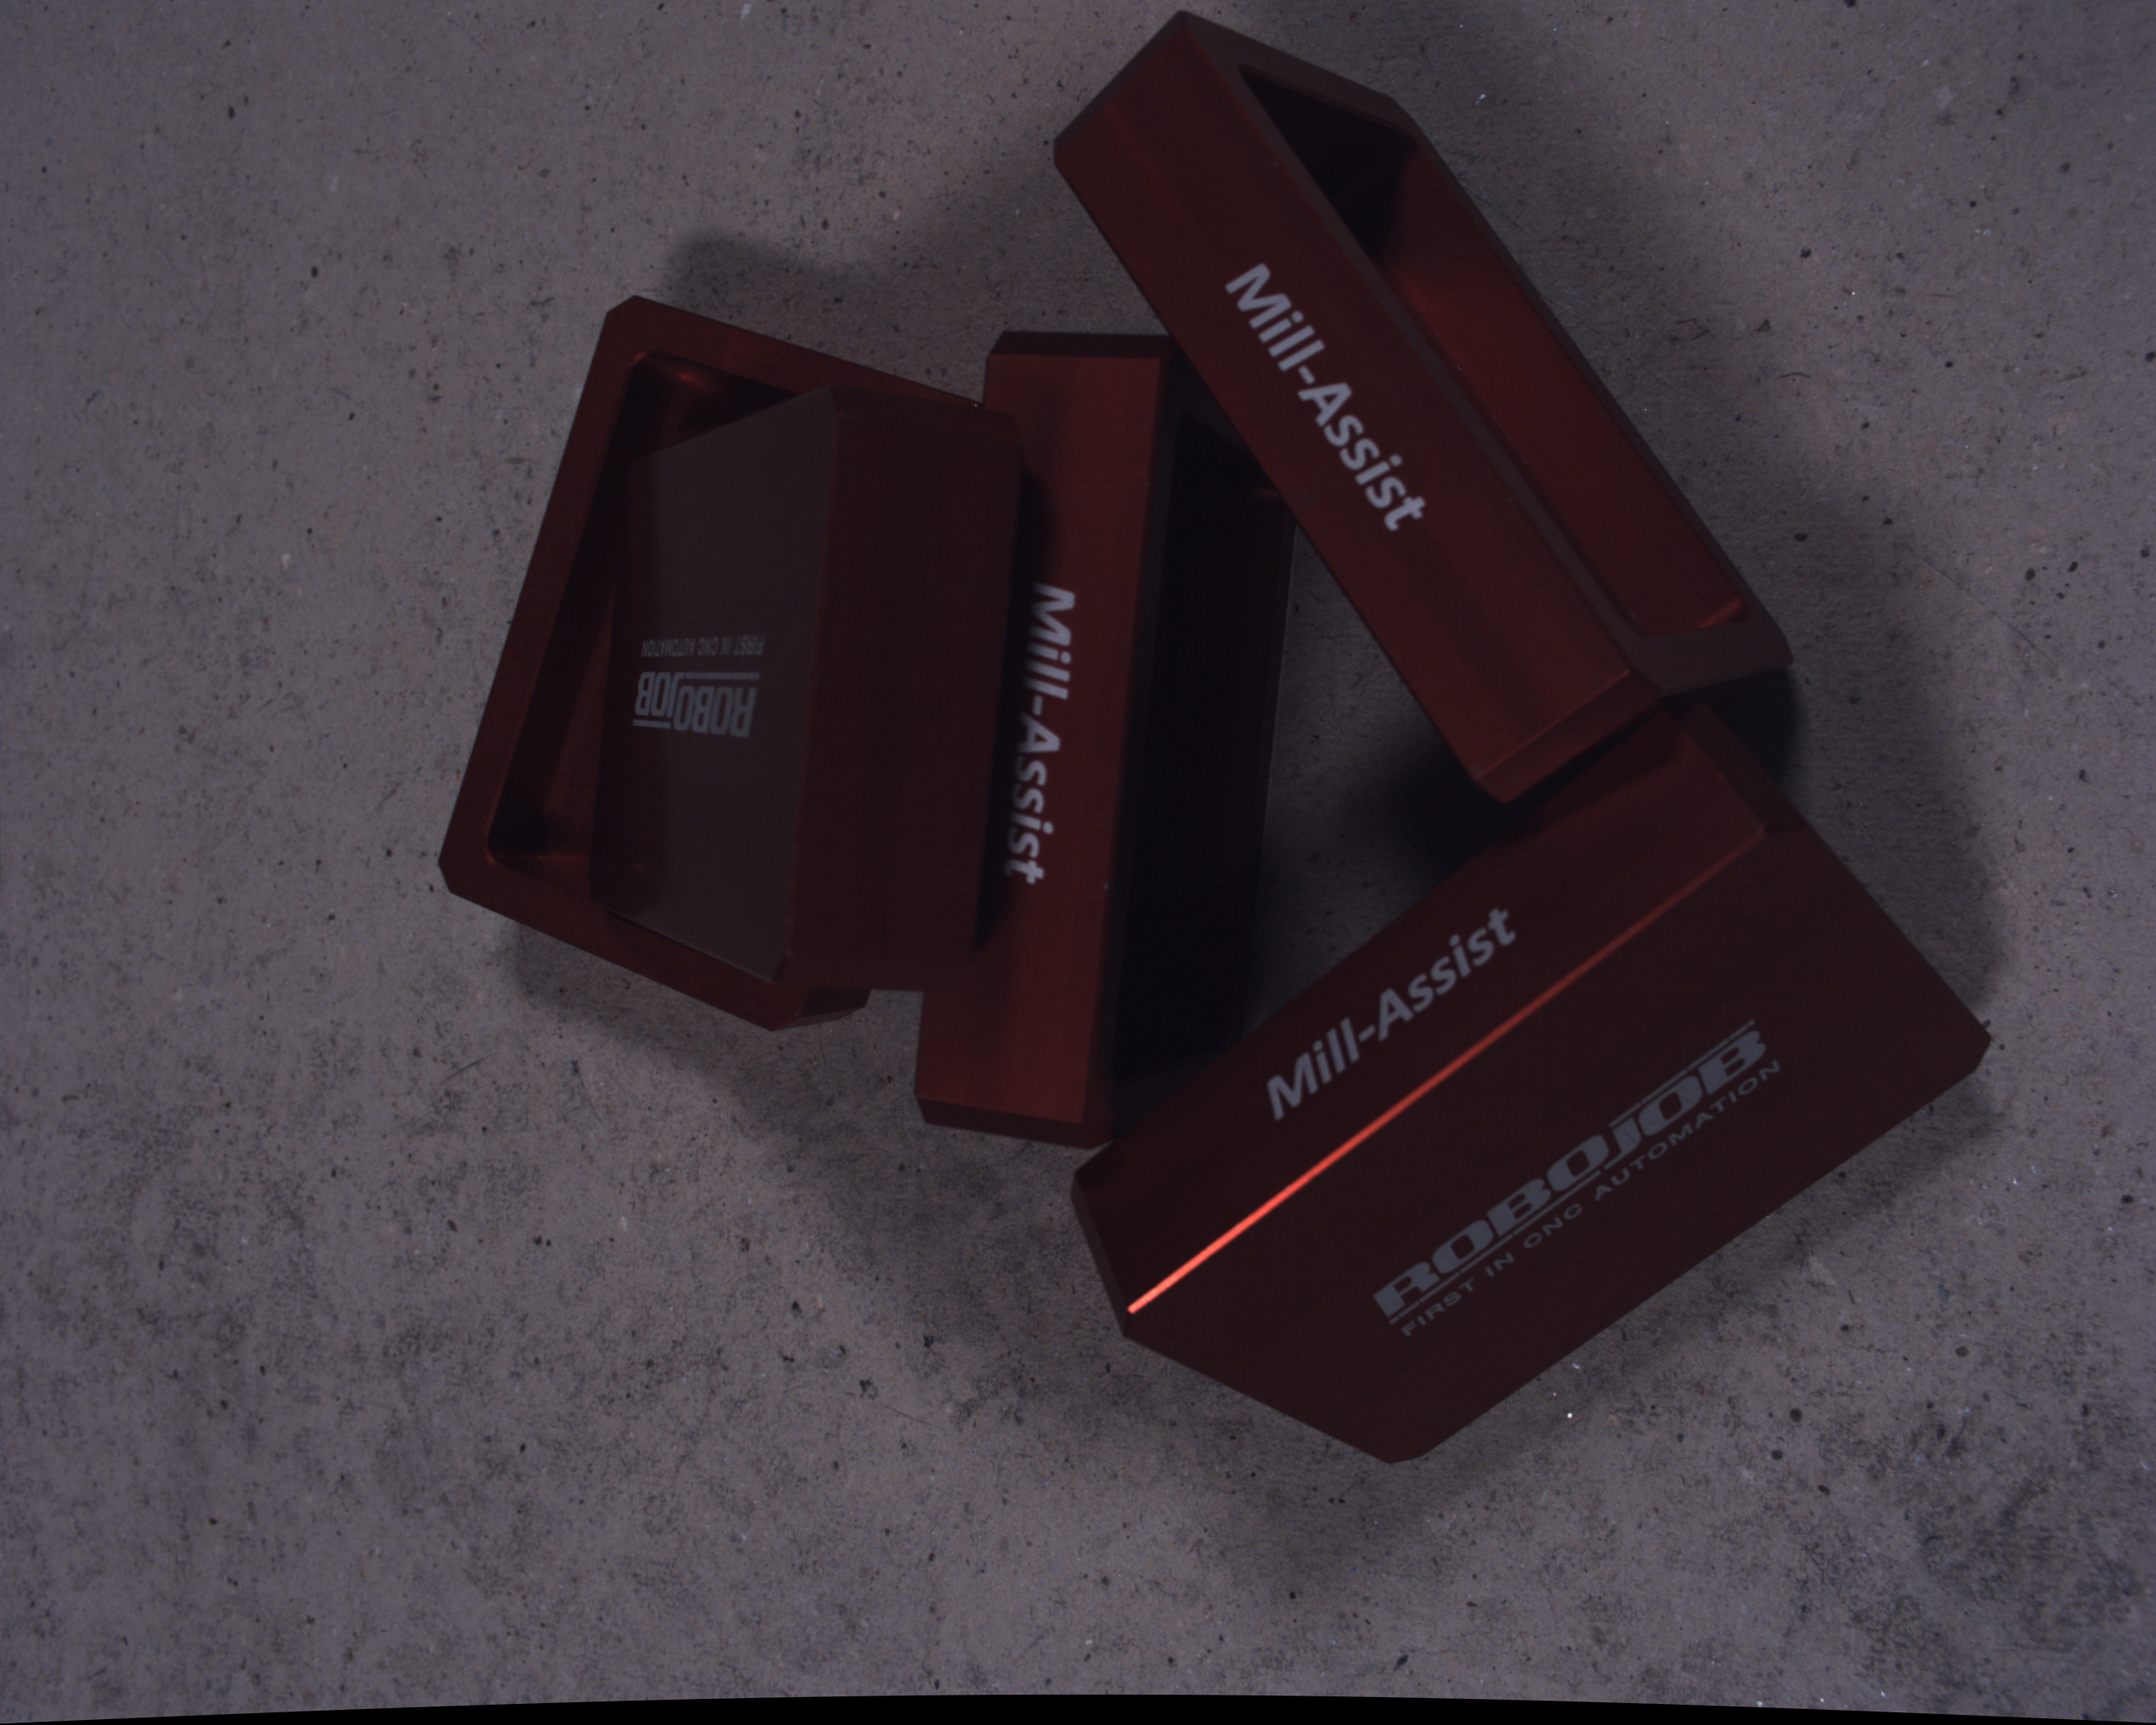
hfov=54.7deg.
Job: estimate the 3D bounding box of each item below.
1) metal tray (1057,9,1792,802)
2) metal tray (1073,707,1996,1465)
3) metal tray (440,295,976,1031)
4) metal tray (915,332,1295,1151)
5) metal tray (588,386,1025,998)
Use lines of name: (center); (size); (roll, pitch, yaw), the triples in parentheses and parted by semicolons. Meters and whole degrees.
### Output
metal tray: (0.061, -0.076, 0.351); (0.030, 0.091, 0.130); (-38, 78, 30)
metal tray: (0.076, 0.043, 0.348); (0.130, 0.090, 0.030); (-40, 43, 15)
metal tray: (-0.070, -0.041, 0.431); (0.090, 0.030, 0.129); (21, 97, 18)
metal tray: (0.009, -0.020, 0.372); (0.030, 0.090, 0.129); (7, 93, 20)
metal tray: (-0.053, -0.030, 0.368); (0.130, 0.030, 0.089); (11, 95, 64)
